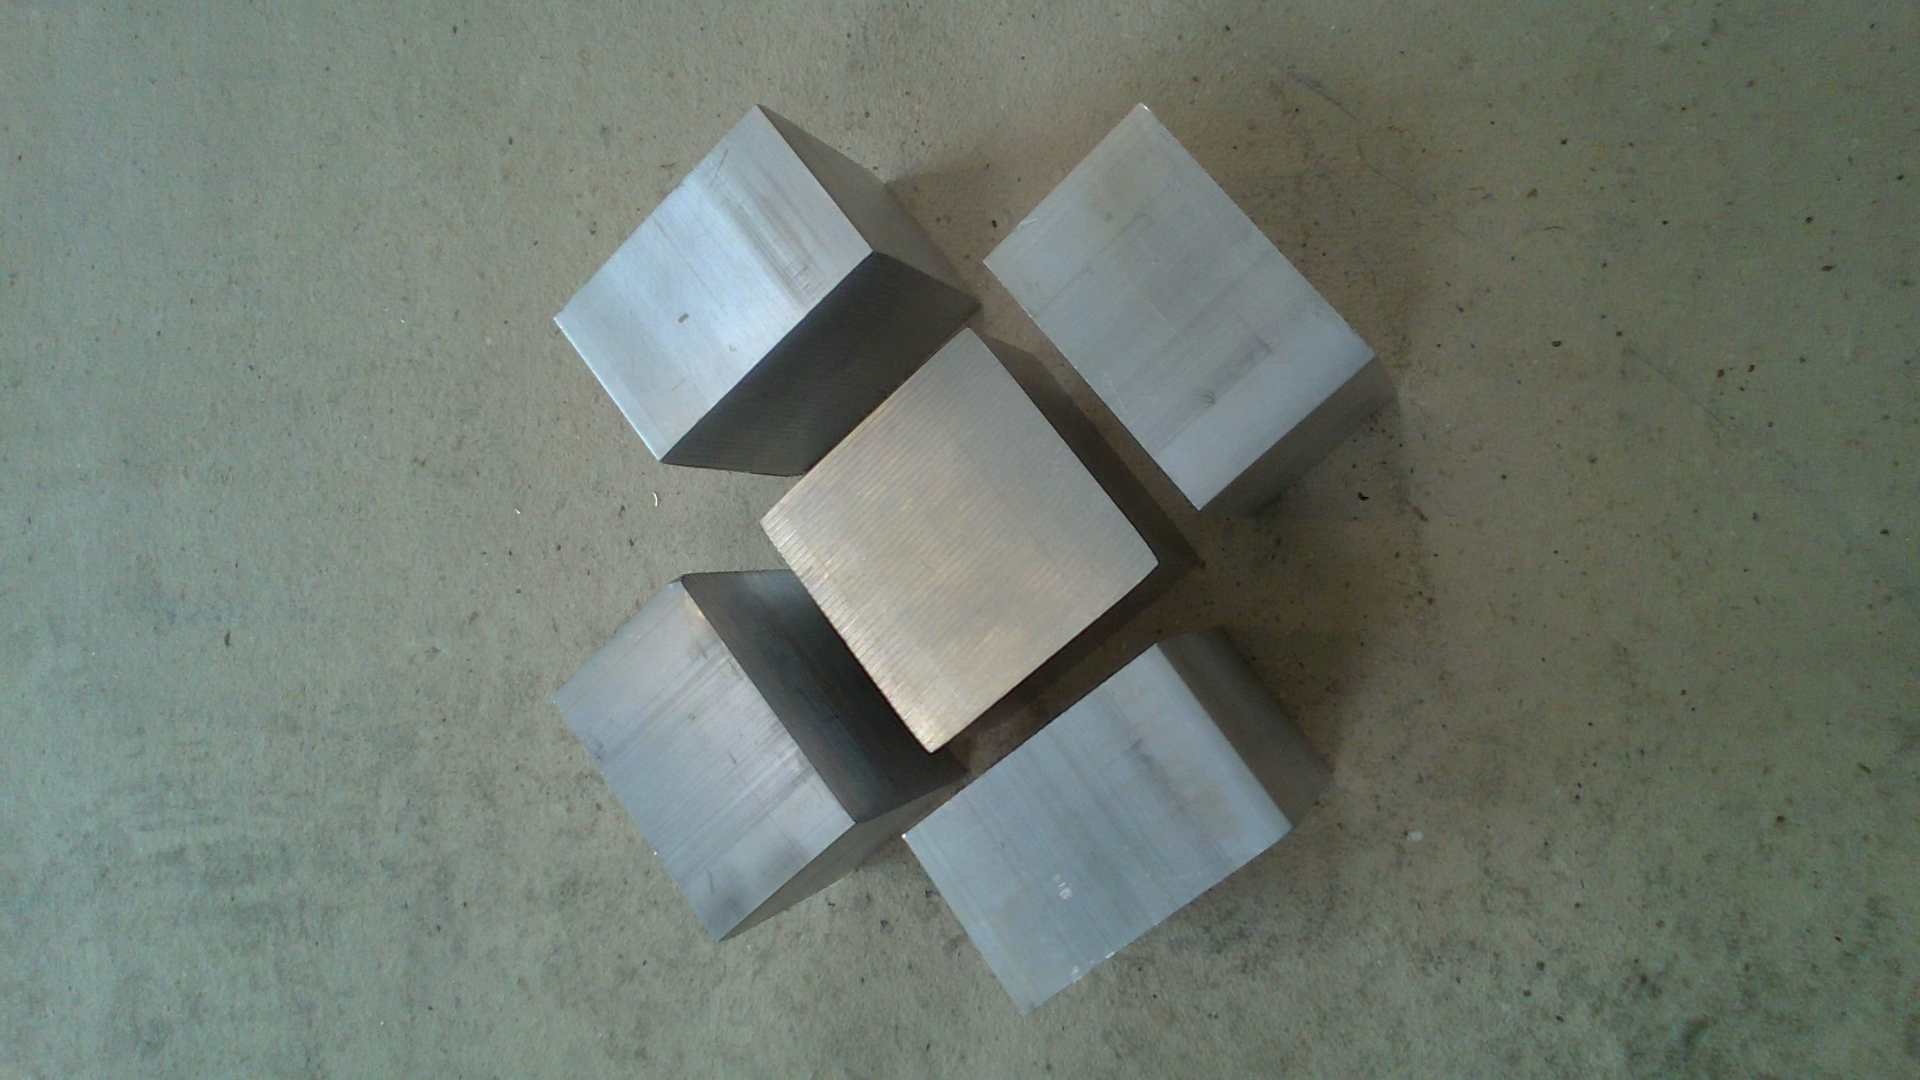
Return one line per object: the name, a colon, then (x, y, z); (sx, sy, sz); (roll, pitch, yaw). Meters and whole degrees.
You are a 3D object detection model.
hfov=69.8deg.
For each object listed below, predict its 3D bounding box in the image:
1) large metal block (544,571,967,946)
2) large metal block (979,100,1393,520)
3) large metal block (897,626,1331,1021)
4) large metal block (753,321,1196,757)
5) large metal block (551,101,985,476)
large metal block: (-0.054, 0.055, 0.386); (0.050, 0.080, 0.080); (-42, 77, 15)
large metal block: (0.060, -0.052, 0.345); (0.050, 0.080, 0.080); (-42, 77, 14)
large metal block: (0.043, 0.068, 0.351); (0.080, 0.080, 0.050); (-40, 77, 16)
large metal block: (0.005, 0.000, 0.378); (0.080, 0.050, 0.080); (-41, 77, 15)
large metal block: (-0.050, -0.065, 0.386); (0.080, 0.080, 0.050); (-41, 77, 15)
